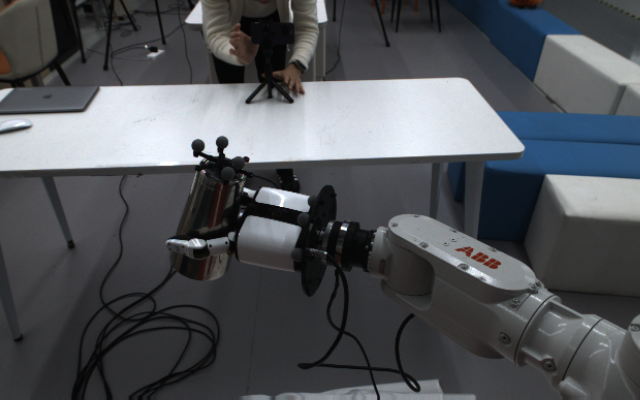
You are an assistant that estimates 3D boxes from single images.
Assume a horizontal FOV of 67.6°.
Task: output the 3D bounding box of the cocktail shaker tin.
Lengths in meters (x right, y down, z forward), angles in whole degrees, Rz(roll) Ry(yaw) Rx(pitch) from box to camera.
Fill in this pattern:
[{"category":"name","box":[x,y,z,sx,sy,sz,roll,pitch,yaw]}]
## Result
[{"category":"cocktail shaker tin","box":[-0.158,0.022,0.703,0.093,0.170,0.093,16,31,-10]}]
